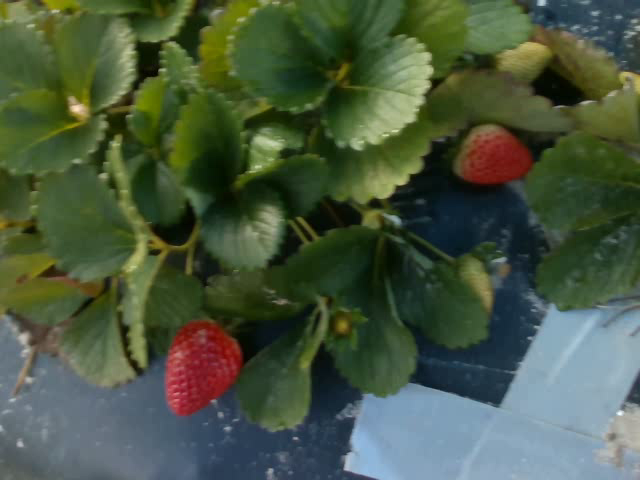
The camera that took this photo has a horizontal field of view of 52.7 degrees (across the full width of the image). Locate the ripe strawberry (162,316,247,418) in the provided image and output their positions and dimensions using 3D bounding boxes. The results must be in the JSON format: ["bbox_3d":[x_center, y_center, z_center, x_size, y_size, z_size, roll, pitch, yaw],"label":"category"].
[{"bbox_3d":[-0.027,0.030,0.148,0.018,0.023,0.021,14,-15,25],"label":"ripe strawberry"}]
